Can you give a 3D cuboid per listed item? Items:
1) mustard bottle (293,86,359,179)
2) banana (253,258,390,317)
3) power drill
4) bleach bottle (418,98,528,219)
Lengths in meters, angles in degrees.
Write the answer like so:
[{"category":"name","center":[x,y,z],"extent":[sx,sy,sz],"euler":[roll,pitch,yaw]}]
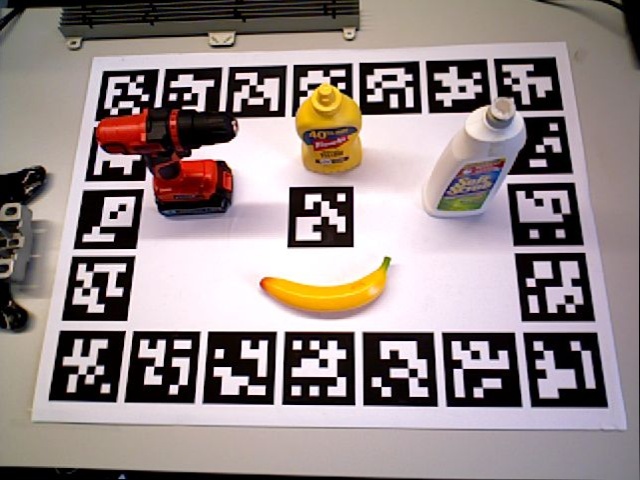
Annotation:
[{"category":"mustard bottle","center":[0.007,-0.153,0.764],"extent":[0.096,0.194,0.058],"euler":[-7,71,-1]},{"category":"banana","center":[0.003,0.071,0.764],"extent":[0.197,0.039,0.074],"euler":[-6,74,5]},{"category":"power drill","center":[-0.183,-0.118,0.734],"extent":[0.184,0.188,0.057],"euler":[-6,71,5]},{"category":"bleach bottle","center":[0.195,-0.104,0.701],"extent":[0.102,0.253,0.067],"euler":[8,72,5]}]
